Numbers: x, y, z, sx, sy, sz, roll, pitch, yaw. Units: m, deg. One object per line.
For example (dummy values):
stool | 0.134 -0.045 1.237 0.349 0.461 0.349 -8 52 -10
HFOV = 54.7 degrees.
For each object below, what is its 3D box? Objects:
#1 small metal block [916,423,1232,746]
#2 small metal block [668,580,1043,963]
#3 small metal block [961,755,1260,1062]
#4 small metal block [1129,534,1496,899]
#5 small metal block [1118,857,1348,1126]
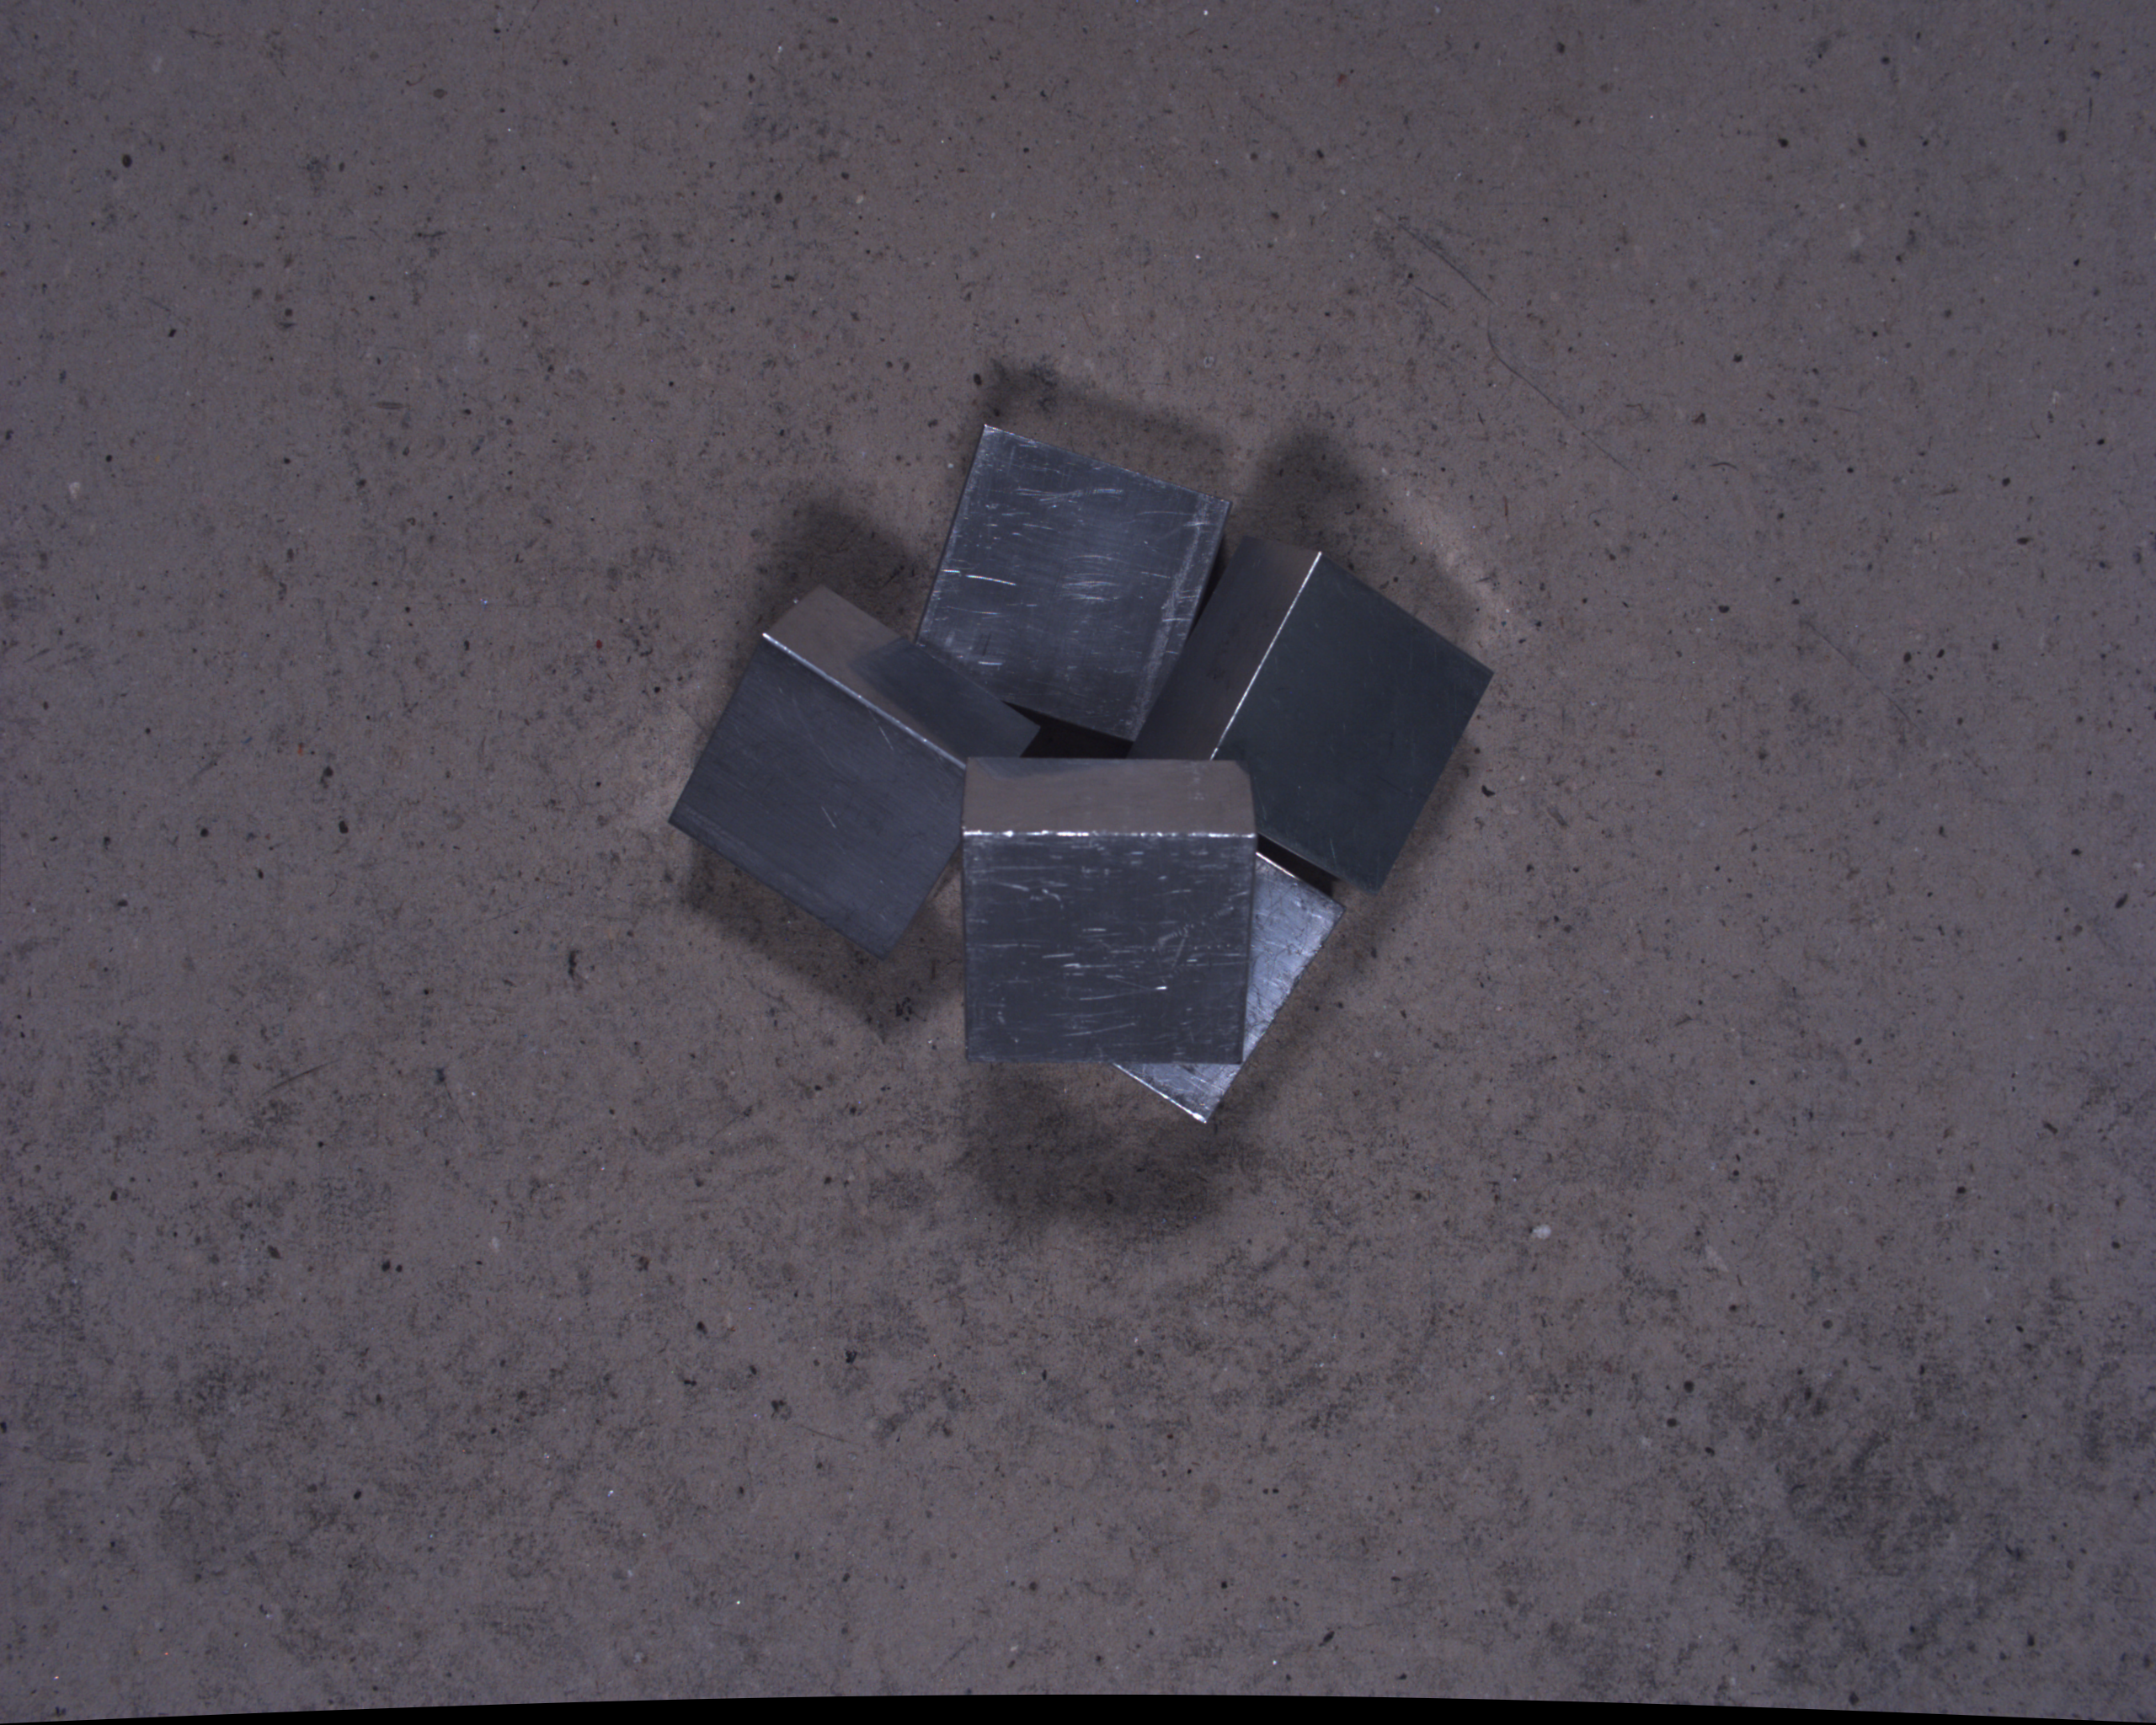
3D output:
small metal block | -0.002 -0.053 0.411 0.050 0.025 0.050 17 90 -1
small metal block | -0.043 -0.017 0.399 0.050 0.025 0.050 33 126 -2
small metal block | 0.005 0.008 0.375 0.050 0.025 0.050 0 123 -1
small metal block | 0.045 -0.028 0.401 0.050 0.025 0.050 28 90 -34
small metal block | 0.017 0.016 0.412 0.050 0.025 0.050 33 90 -1
